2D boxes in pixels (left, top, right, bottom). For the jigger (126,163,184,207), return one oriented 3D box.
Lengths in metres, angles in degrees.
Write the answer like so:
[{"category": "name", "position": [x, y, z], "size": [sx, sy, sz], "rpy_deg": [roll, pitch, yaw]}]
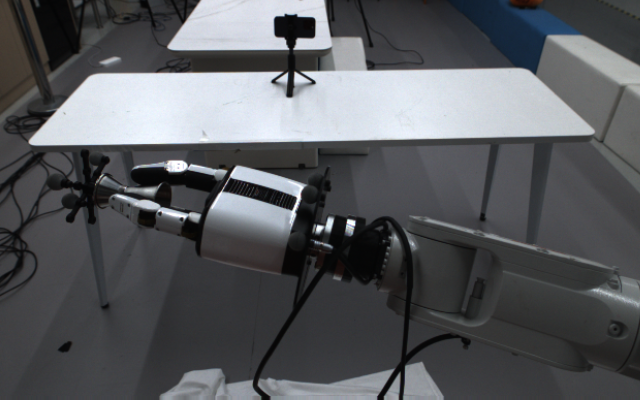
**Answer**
[{"category": "jigger", "position": [-0.195, -0.009, 0.525], "size": [0.071, 0.043, 0.043], "rpy_deg": [9, 35, 5]}]
